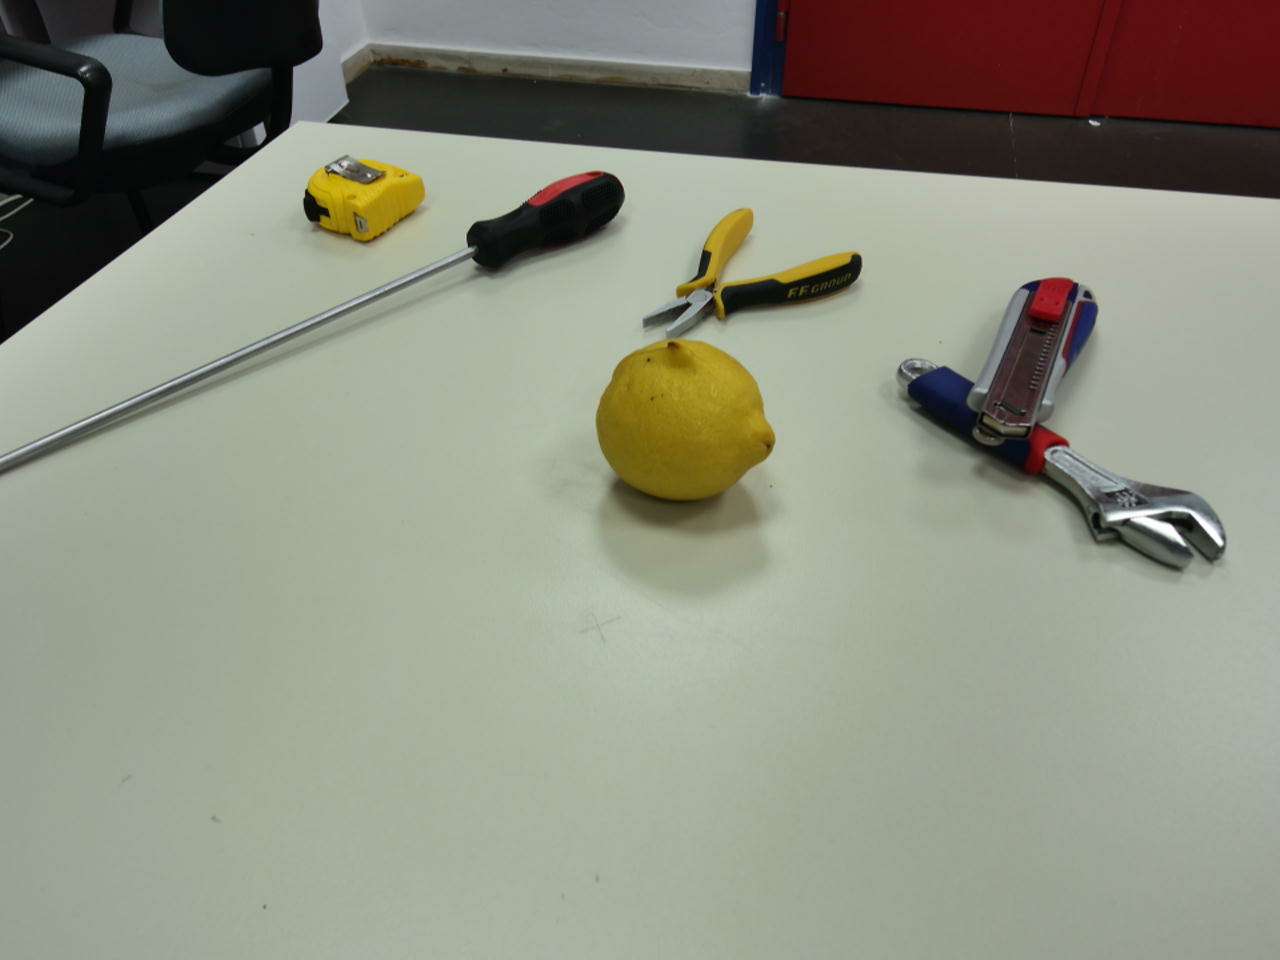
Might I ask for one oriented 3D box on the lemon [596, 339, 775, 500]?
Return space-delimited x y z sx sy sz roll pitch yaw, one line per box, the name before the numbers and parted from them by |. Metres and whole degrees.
lemon | 0.017 -0.028 0.424 0.070 0.071 0.071 -12 40 -16
